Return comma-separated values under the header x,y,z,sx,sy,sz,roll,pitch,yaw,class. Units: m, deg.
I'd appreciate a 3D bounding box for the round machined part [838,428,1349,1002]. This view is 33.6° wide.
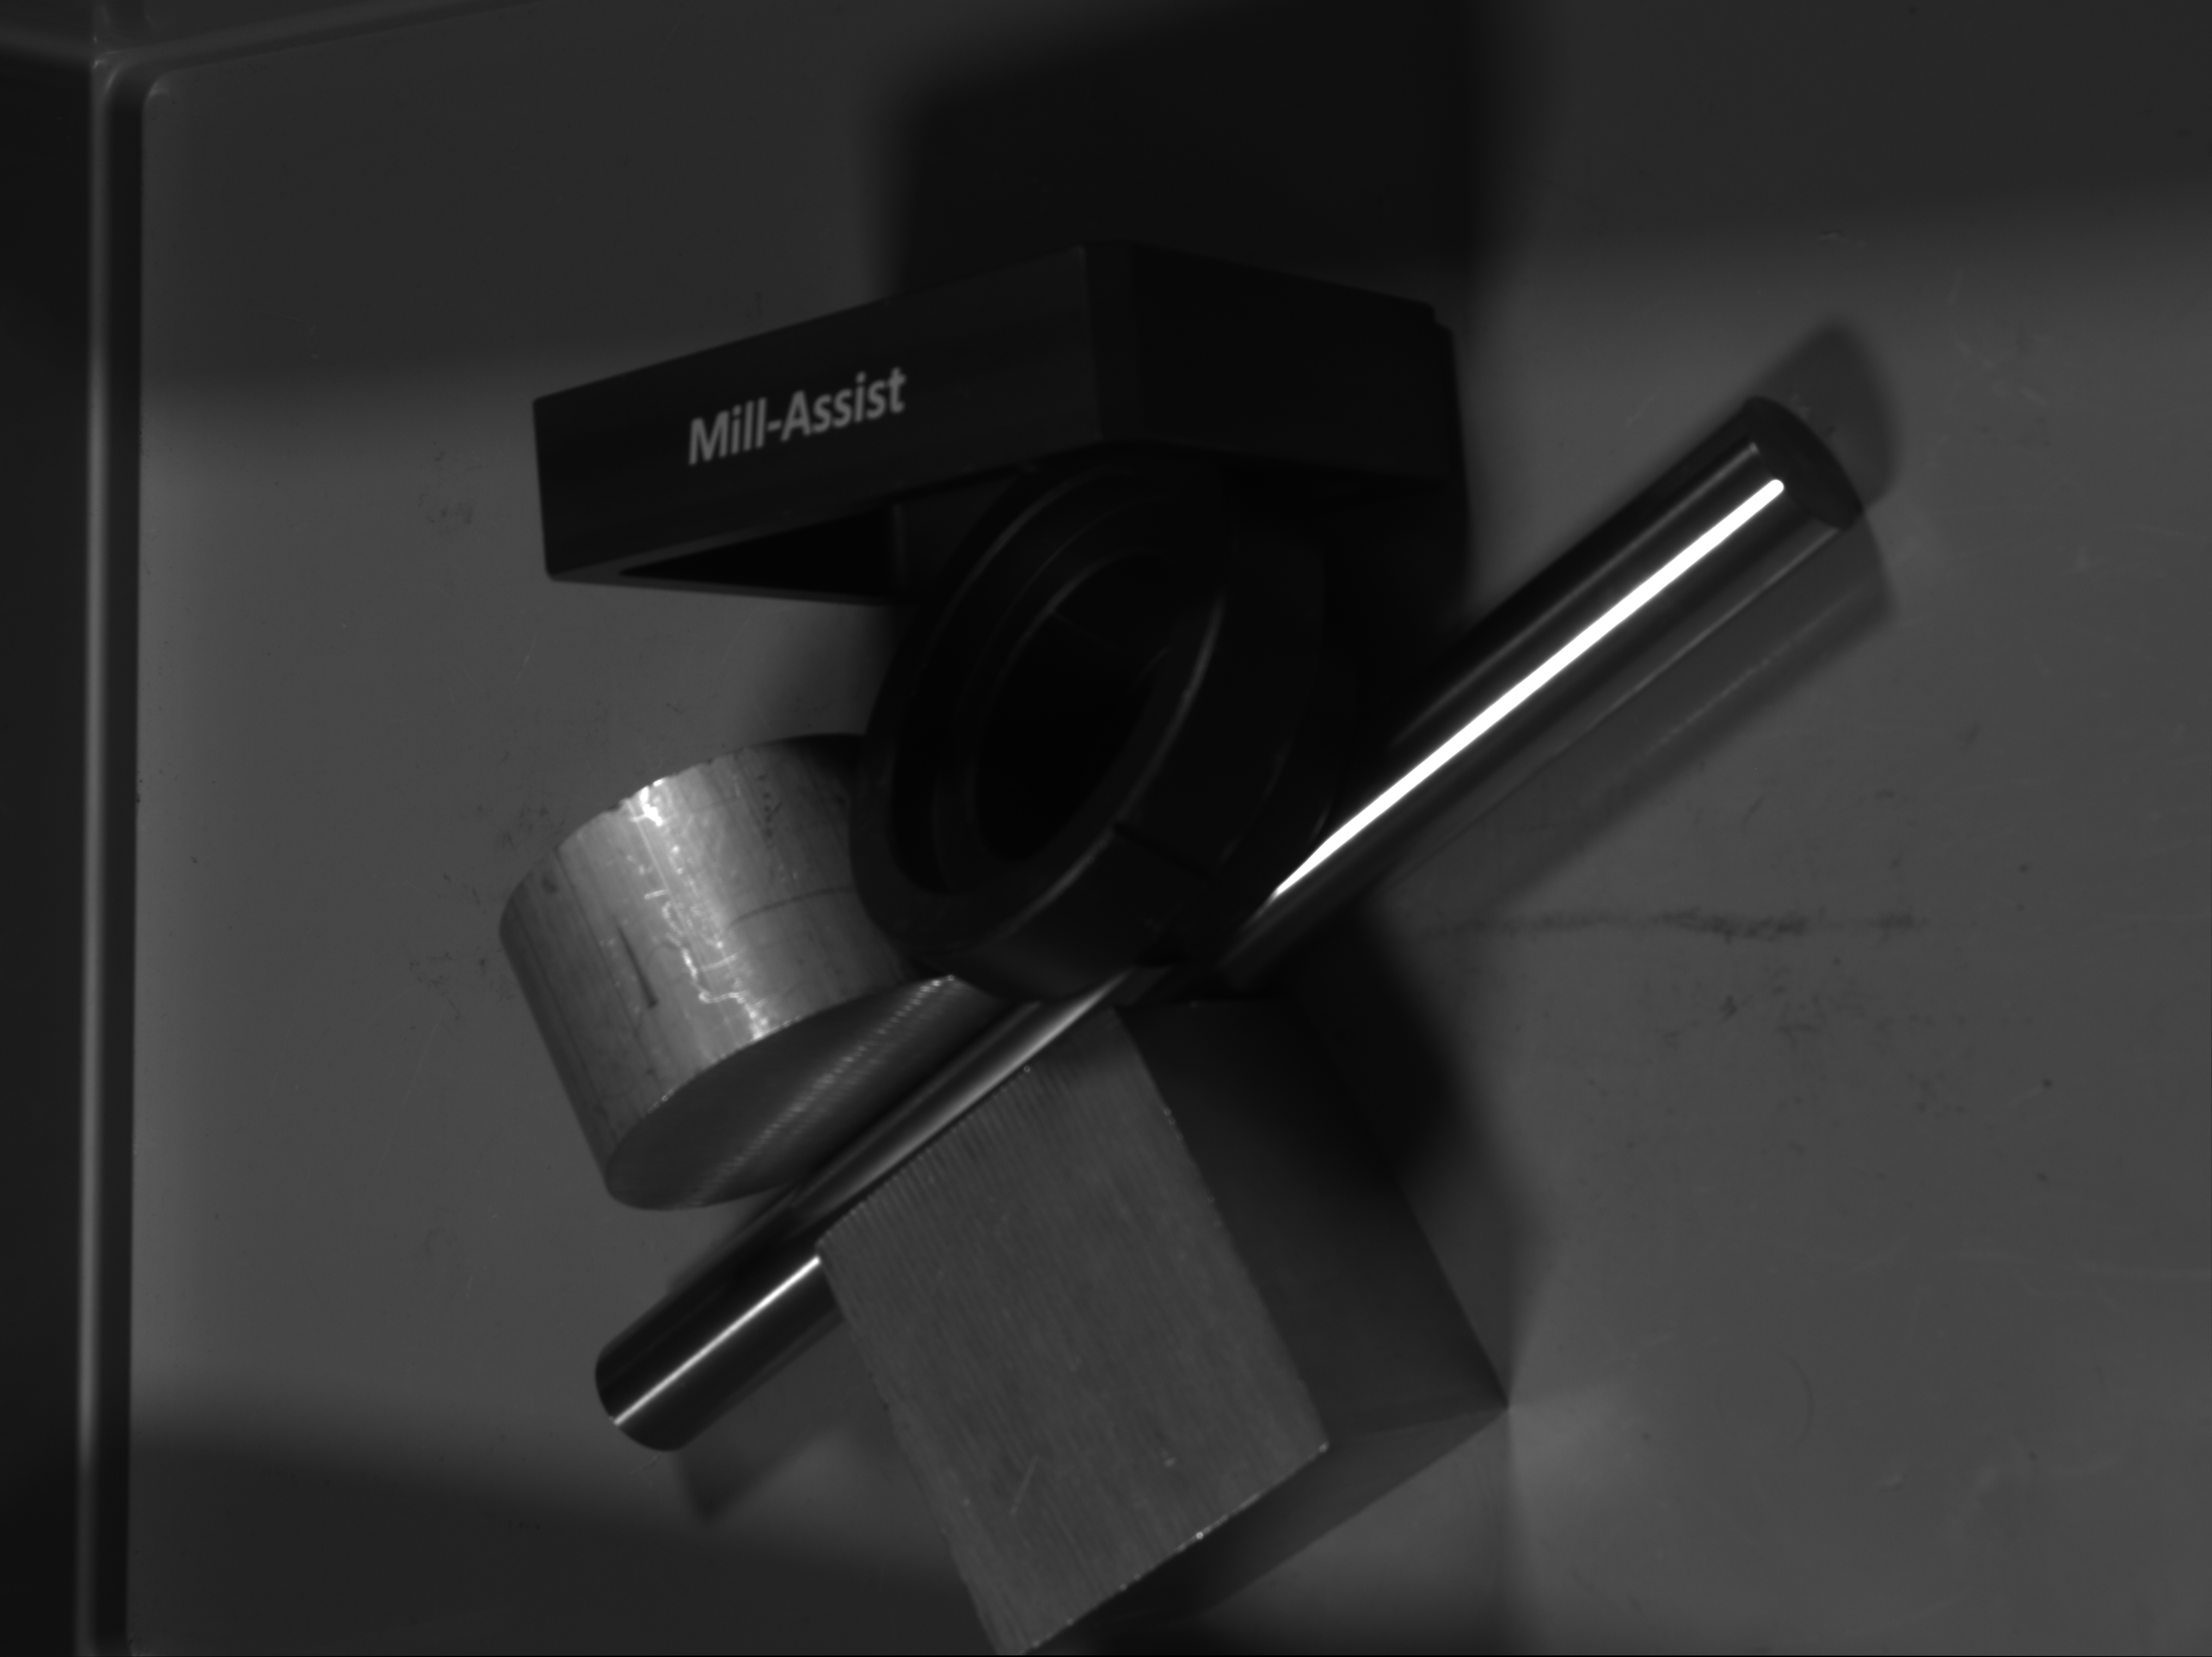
x,y,z,sx,sy,sz,roll,pitch,yaw,class
0.002,-0.016,0.604,0.098,0.042,0.098,-35,39,36,round machined part

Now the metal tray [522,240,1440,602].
x,y,z,sx,sy,sz,roll,pitch,yaw,class
-0.022,-0.064,0.610,0.130,0.090,0.030,-9,84,39,metal tray

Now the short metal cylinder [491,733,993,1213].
x,y,z,sx,sy,sz,roll,pitch,yaw,class
-0.062,0.026,0.651,0.080,0.080,0.050,-41,65,32,short metal cylinder

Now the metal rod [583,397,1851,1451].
x,y,z,sx,sy,sz,roll,pitch,yaw,class
0.006,0.027,0.630,0.300,0.025,0.025,-40,66,32,metal rod

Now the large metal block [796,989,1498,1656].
x,y,z,sx,sy,sz,roll,pitch,yaw,class
0.005,0.083,0.612,0.080,0.050,0.080,-40,66,32,large metal block
